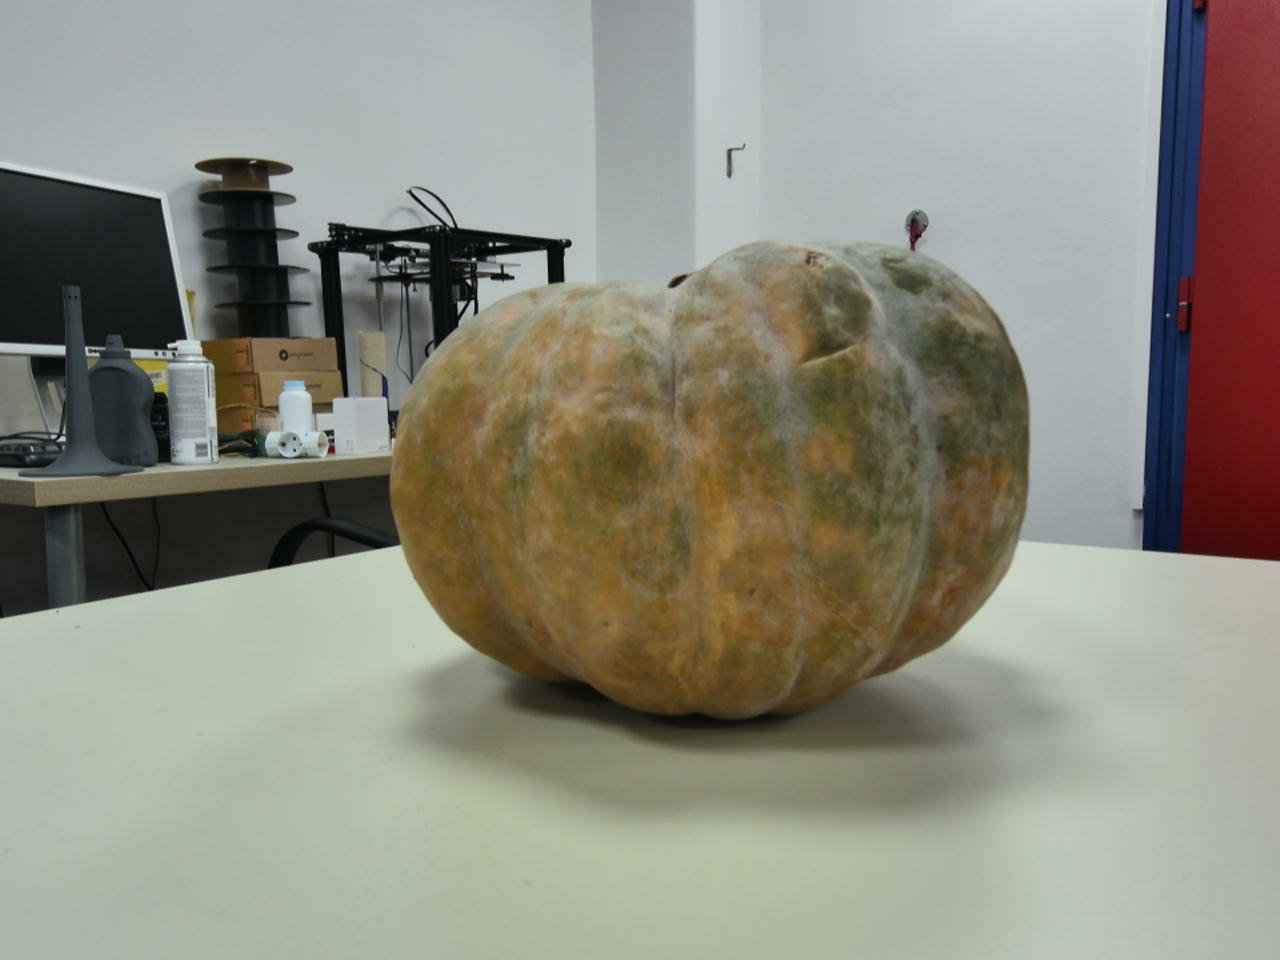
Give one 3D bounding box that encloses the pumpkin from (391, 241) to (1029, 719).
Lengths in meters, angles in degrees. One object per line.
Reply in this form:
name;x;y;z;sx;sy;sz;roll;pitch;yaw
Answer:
pumpkin;0.025;-0.002;0.404;0.252;0.168;0.252;0;3;0
